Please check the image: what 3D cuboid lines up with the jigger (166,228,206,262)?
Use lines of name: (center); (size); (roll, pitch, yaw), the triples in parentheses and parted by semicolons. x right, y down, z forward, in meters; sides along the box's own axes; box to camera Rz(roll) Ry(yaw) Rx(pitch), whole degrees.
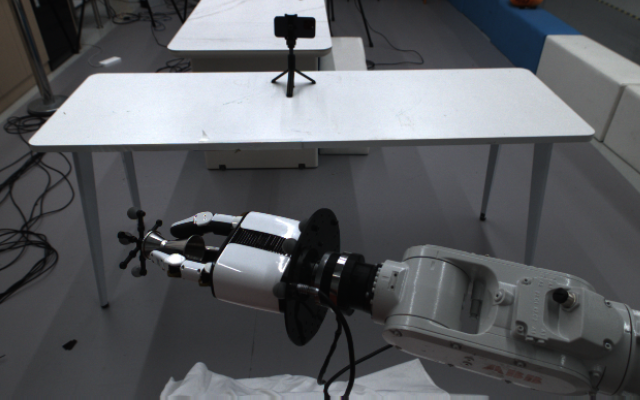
jigger: (-0.183, 0.060, 0.626); (0.071, 0.043, 0.043); (6, 34, 21)
